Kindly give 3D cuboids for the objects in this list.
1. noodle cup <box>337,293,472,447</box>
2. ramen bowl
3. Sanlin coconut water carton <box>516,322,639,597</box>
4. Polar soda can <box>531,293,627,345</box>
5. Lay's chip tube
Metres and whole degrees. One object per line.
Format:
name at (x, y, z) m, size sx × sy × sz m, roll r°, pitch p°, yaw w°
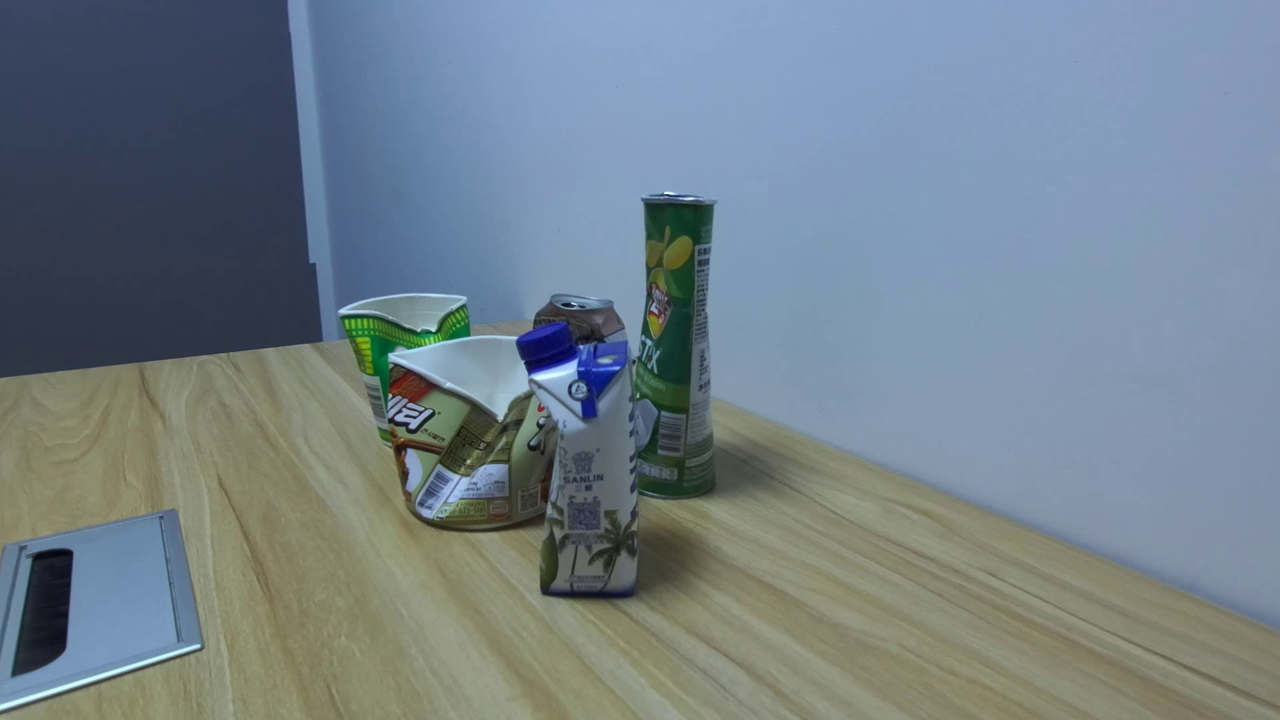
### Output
noodle cup at (-0.177, 0.007, 0.569) m, size 0.083 × 0.122 × 0.075 m, roll -8°, pitch 8°, yaw 1°
ramen bowl at (-0.095, 0.042, 0.476) m, size 0.137 × 0.098 × 0.137 m, roll 4°, pitch 17°, yaw -1°
Sanlin coconut water carton at (-0.029, 0.051, 0.377) m, size 0.058 × 0.142 × 0.078 m, roll -4°, pitch 15°, yaw 1°
Polar soda can at (-0.047, 0.003, 0.596) m, size 0.074 × 0.114 × 0.070 m, roll -9°, pitch 24°, yaw -24°
Lay's chip tube at (0.024, -0.009, 0.483) m, size 0.074 × 0.199 × 0.069 m, roll 12°, pitch 18°, yaw 35°
